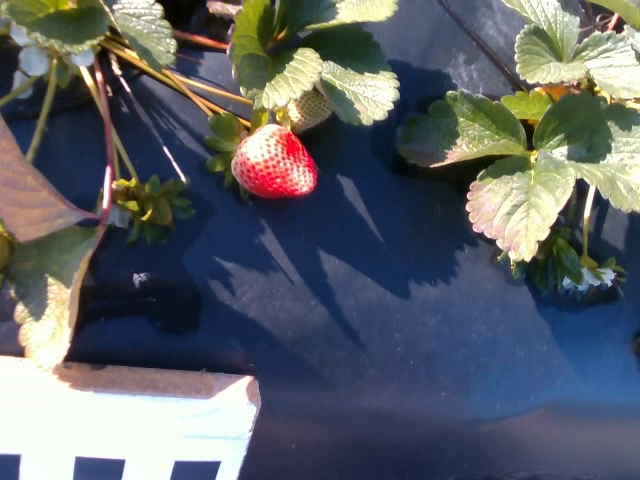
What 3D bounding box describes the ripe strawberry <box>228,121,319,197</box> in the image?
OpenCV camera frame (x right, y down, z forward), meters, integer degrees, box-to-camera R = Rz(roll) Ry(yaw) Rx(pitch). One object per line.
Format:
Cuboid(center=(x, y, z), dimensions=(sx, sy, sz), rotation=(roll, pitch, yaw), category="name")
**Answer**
Cuboid(center=(-0.016, -0.031, 0.260), dimensions=(0.042, 0.037, 0.045), rotation=(-26, 40, -35), category="ripe strawberry")
